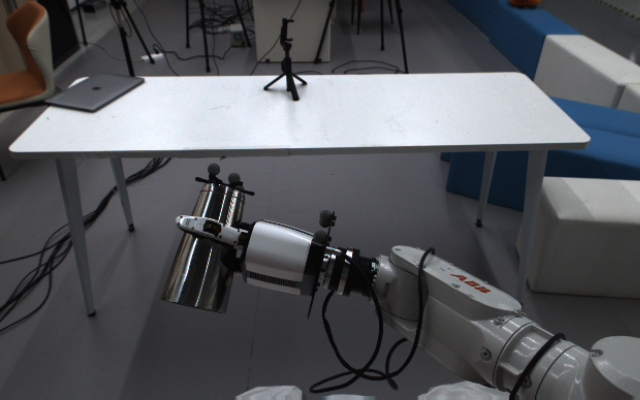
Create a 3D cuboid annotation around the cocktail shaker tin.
[{"bbox_3d":[-0.160,0.069,0.688,0.093,0.093,0.170,10,74,11],"label":"cocktail shaker tin"}]
